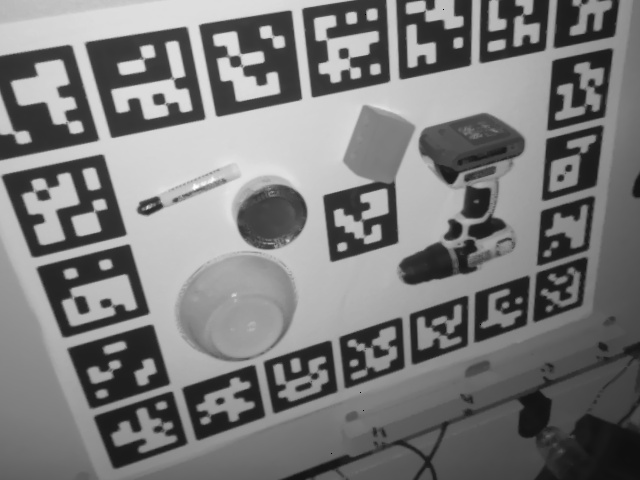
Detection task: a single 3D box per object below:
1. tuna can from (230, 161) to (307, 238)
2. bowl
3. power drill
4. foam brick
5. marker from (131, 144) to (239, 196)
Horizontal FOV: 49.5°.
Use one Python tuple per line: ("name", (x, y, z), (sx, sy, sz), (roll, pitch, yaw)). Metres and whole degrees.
("tuna can", (-0.061, -0.048, 0.805), (0.086, 0.033, 0.085), (-8, 118, -15))
("bowl", (-0.096, 0.076, 0.853), (0.163, 0.055, 0.160), (-14, 126, -18))
("power drill", (0.192, -0.059, 0.891), (0.186, 0.057, 0.185), (-13, 122, -11))
("foam brick", (0.071, -0.133, 0.812), (0.052, 0.052, 0.077), (10, 110, -23))
("marker", (-0.149, -0.077, 0.764), (0.122, 0.019, 0.019), (-22, 120, -10))
